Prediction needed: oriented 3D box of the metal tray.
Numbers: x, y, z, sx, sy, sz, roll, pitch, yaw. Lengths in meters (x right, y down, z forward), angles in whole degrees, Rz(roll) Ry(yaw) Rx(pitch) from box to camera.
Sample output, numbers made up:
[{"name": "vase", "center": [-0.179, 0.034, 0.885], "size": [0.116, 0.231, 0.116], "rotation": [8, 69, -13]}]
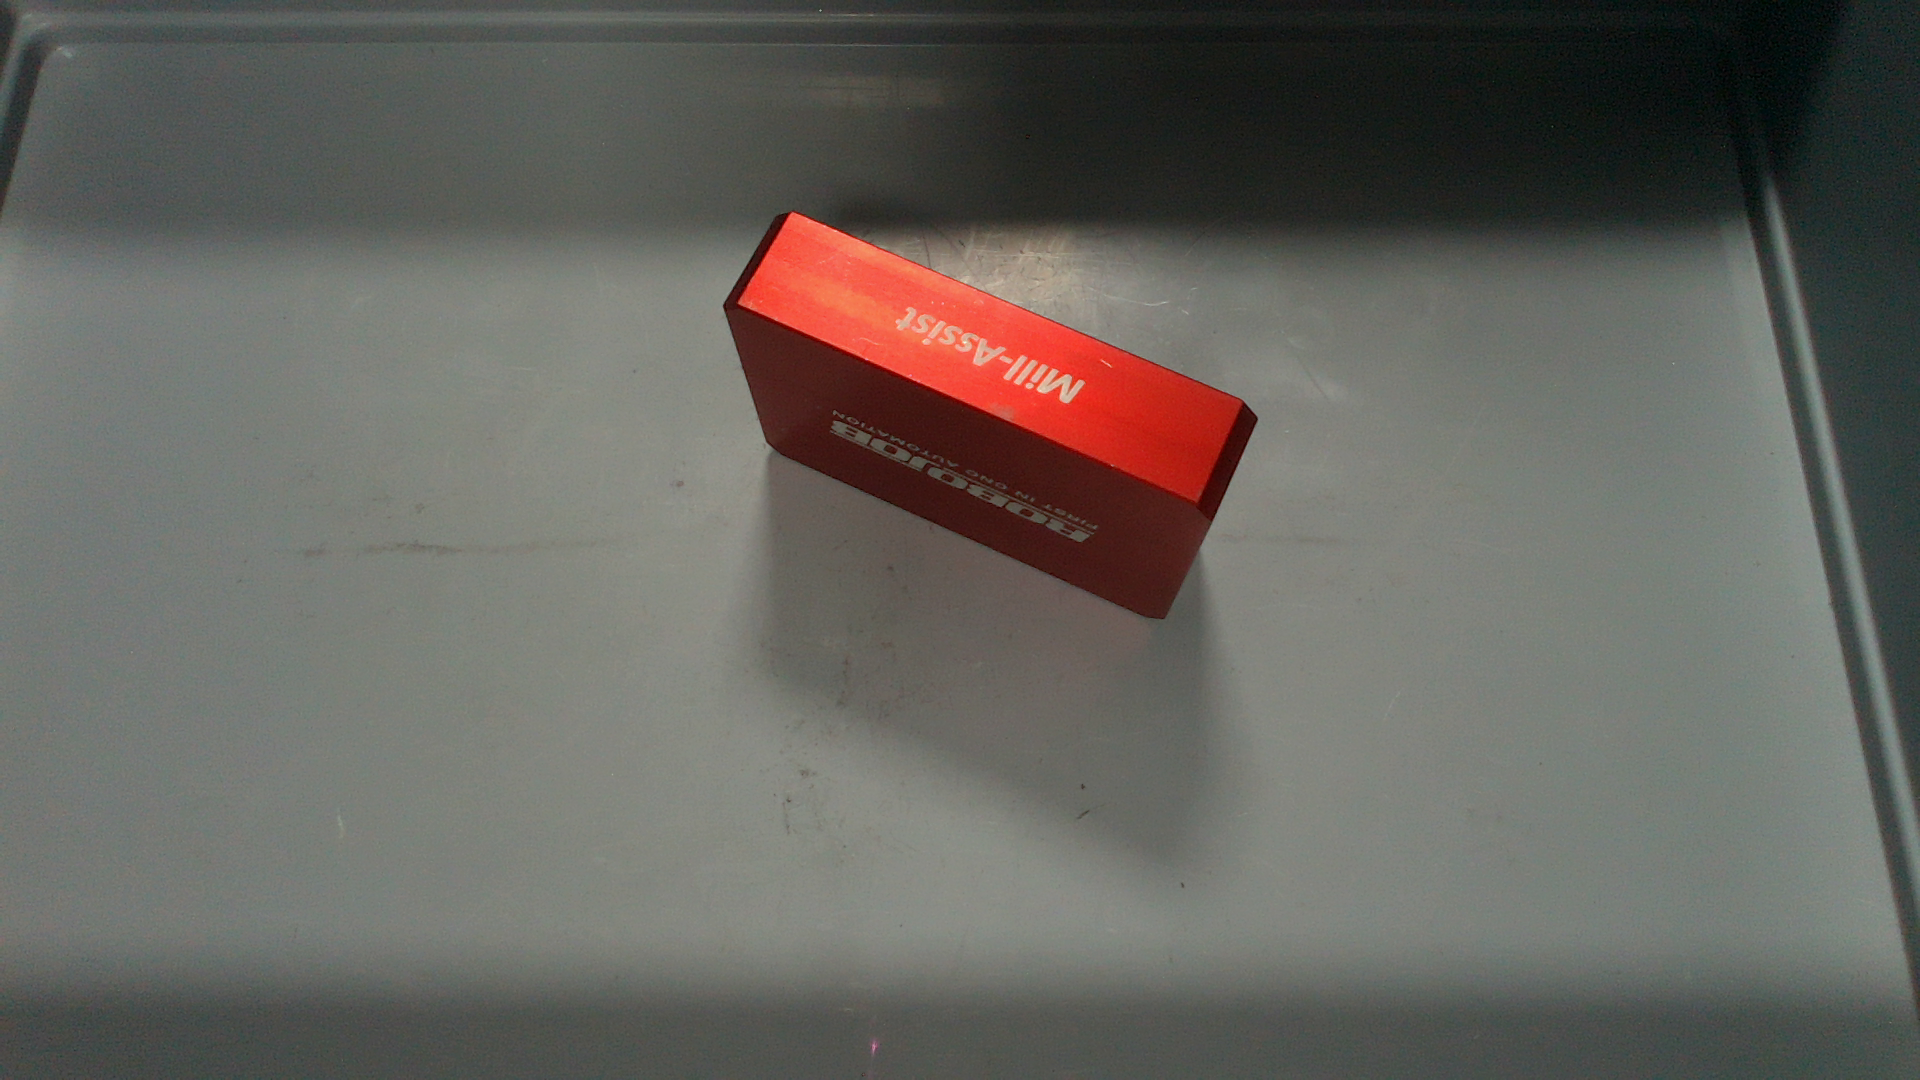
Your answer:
[{"name": "metal tray", "center": [0.006, -0.030, 0.368], "size": [0.130, 0.090, 0.030], "rotation": [24, 72, 8]}]
